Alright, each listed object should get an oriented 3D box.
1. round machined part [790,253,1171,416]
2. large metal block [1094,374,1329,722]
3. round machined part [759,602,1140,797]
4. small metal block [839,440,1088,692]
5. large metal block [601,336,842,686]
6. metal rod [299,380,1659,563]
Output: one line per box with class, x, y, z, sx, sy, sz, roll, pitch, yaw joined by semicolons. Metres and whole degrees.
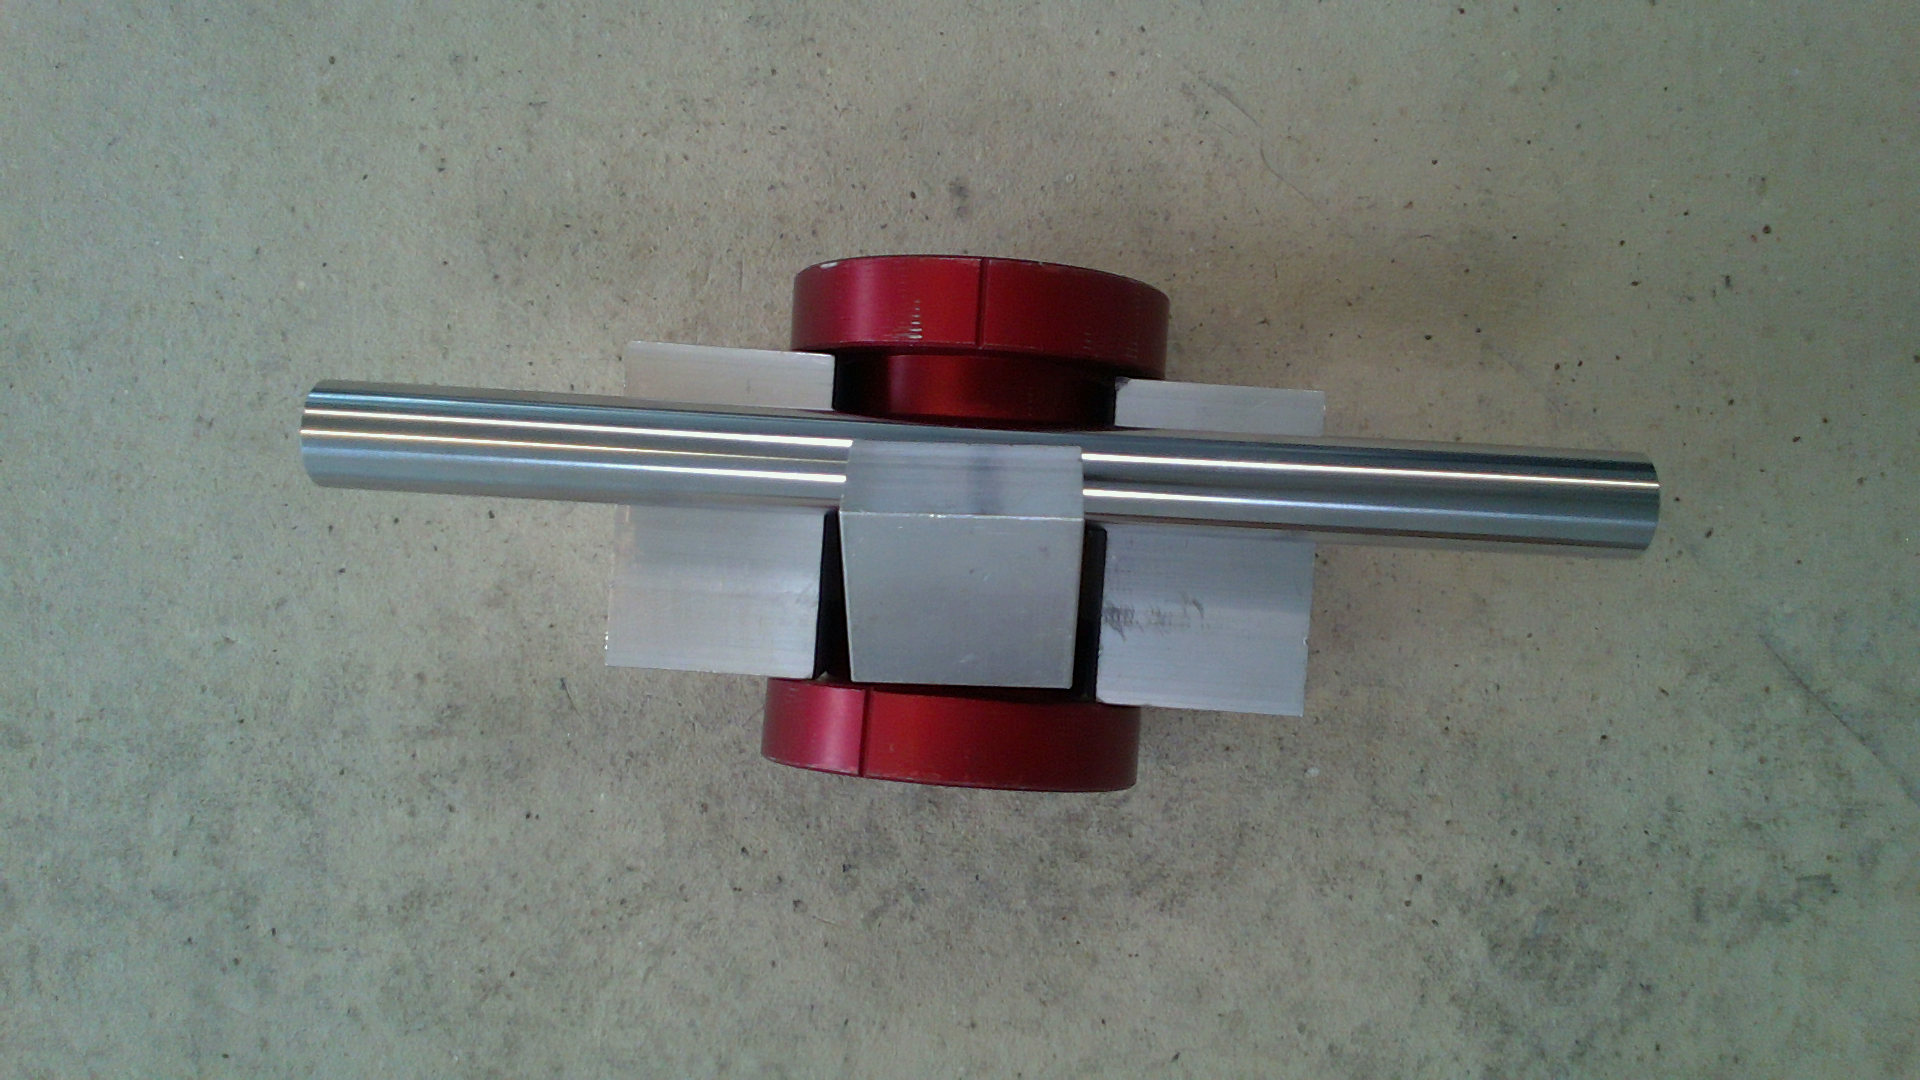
round machined part;0.004;-0.044;0.359;0.098;0.098;0.042;4;91;0
large metal block;0.061;0.002;0.368;0.050;0.080;0.080;4;90;0
round machined part;-0.001;0.040;0.359;0.098;0.098;0.042;5;85;0
small metal block;0.001;0.006;0.302;0.050;0.025;0.050;2;131;2
large metal block;-0.057;-0.007;0.368;0.050;0.080;0.080;4;90;0
metal rod;0.005;-0.016;0.315;0.300;0.025;0.025;3;90;0
